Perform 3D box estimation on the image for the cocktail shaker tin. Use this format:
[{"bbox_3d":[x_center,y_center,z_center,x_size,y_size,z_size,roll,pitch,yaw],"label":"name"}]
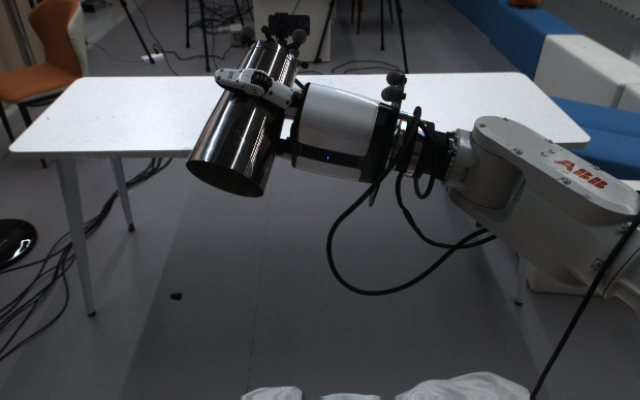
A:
[{"bbox_3d":[-0.083,-0.099,0.569,0.093,0.093,0.170,13,70,15],"label":"cocktail shaker tin"}]
